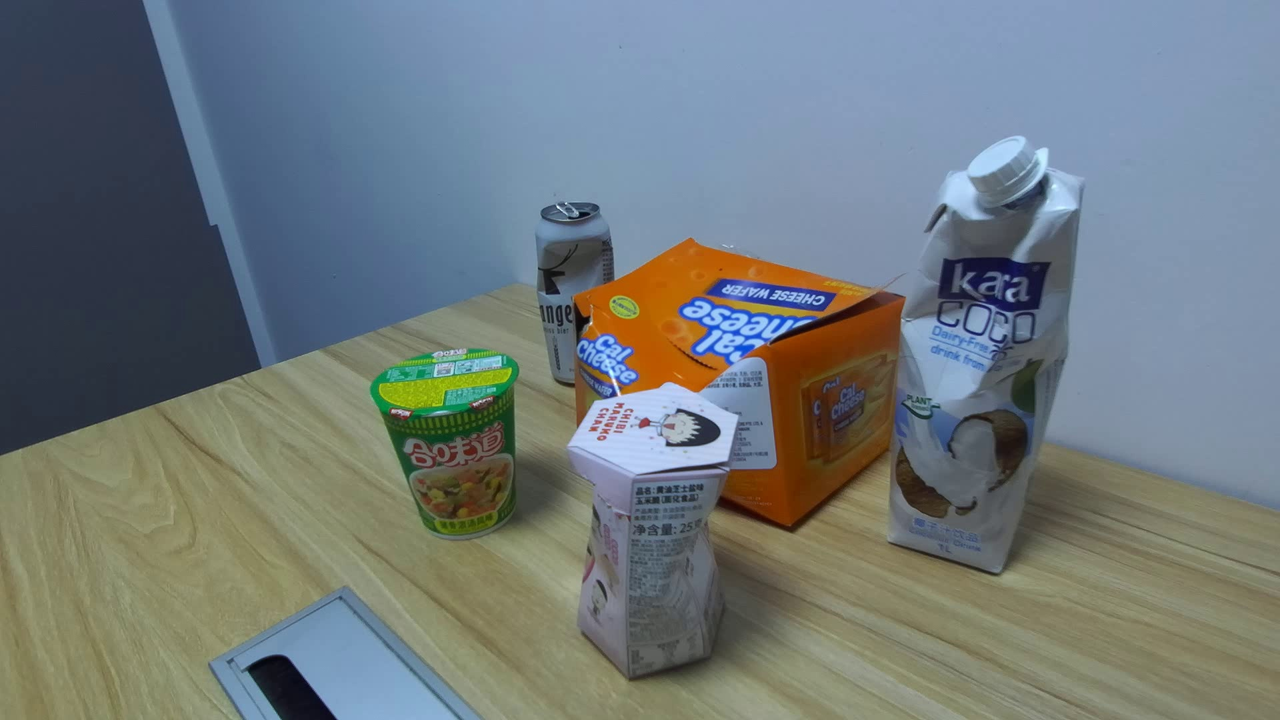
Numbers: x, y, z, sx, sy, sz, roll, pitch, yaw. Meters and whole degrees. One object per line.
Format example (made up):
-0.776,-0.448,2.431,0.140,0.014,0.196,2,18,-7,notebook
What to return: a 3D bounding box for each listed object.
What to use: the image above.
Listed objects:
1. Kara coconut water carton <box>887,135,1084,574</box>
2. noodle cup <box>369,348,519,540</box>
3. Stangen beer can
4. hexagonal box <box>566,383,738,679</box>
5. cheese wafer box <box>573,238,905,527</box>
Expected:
0.196,-0.001,0.412,0.083,0.256,0.079,20,36,40,Kara coconut water carton
-0.128,0.061,0.492,0.097,0.110,0.097,-1,26,1,noodle cup
-0.059,-0.062,0.672,0.070,0.173,0.070,21,35,38,Stangen beer can
0.011,0.091,0.381,0.091,0.134,0.089,-18,32,-31,hexagonal box
0.062,0.004,0.546,0.218,0.145,0.192,20,34,40,cheese wafer box
